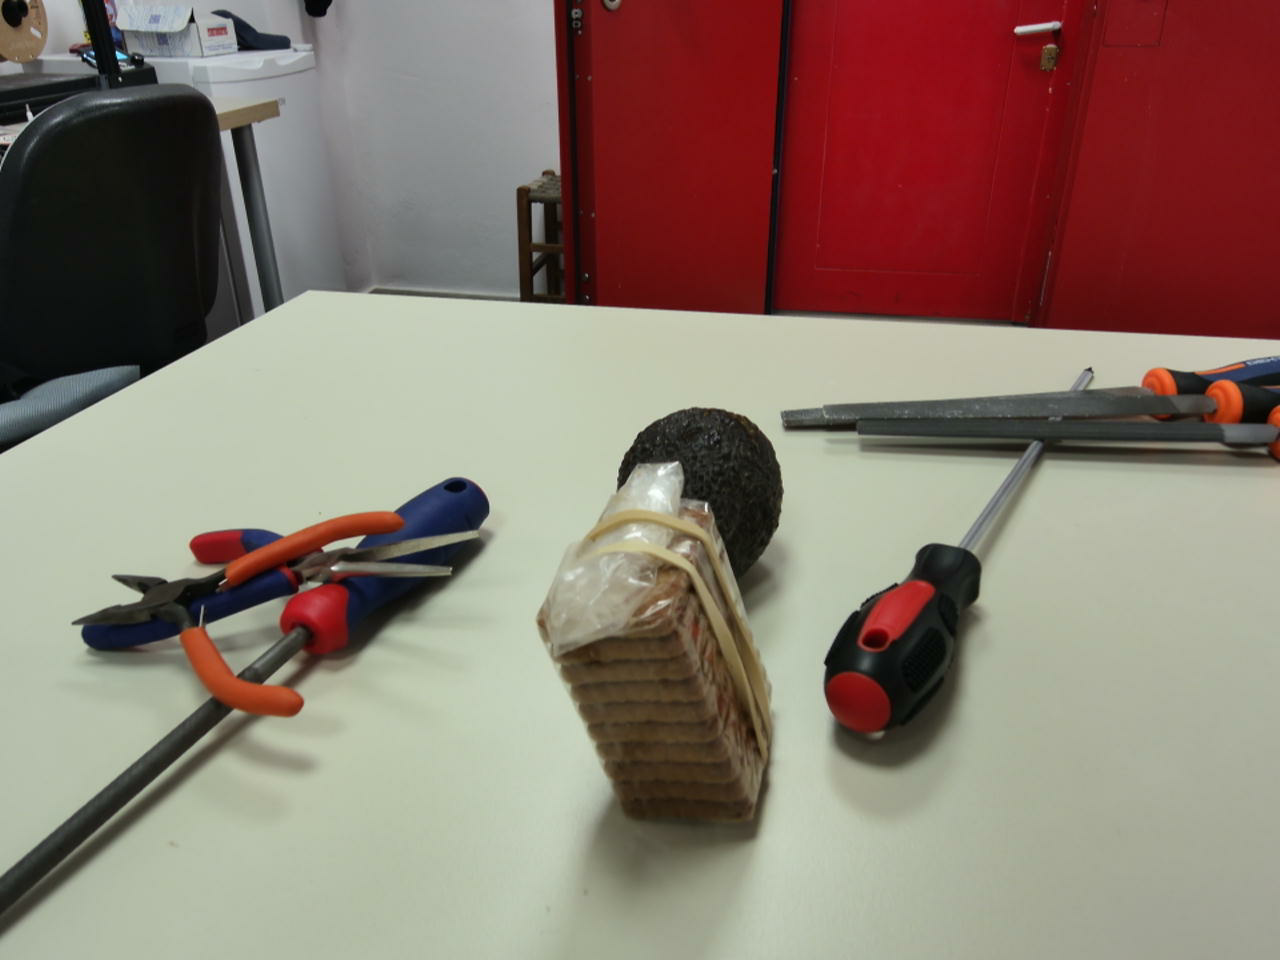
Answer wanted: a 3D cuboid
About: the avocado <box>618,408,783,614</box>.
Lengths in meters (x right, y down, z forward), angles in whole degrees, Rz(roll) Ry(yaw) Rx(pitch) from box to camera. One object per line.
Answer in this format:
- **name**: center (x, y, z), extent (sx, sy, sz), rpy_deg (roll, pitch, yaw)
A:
- **avocado**: center (0.022, 0.007, 0.414), extent (0.070, 0.069, 0.090), rpy_deg (17, 29, 34)
